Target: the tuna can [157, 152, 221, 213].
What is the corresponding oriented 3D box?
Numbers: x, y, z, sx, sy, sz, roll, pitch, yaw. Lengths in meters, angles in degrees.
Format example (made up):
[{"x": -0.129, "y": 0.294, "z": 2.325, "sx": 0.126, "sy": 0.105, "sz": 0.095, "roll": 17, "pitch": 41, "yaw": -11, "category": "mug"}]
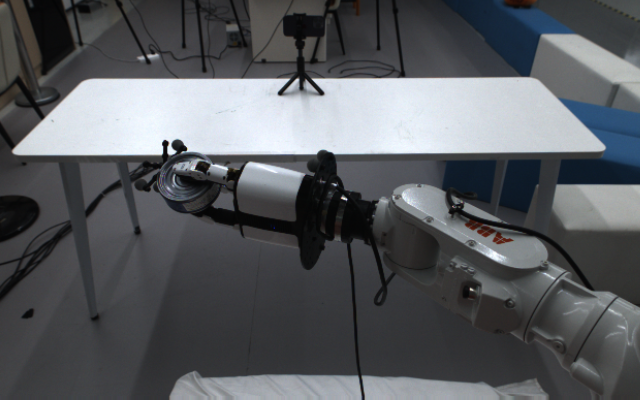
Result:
[{"x": -0.184, "y": -0.024, "z": 0.691, "sx": 0.085, "sy": 0.034, "sz": 0.085, "roll": -1, "pitch": 64, "yaw": 1, "category": "tuna can"}]
